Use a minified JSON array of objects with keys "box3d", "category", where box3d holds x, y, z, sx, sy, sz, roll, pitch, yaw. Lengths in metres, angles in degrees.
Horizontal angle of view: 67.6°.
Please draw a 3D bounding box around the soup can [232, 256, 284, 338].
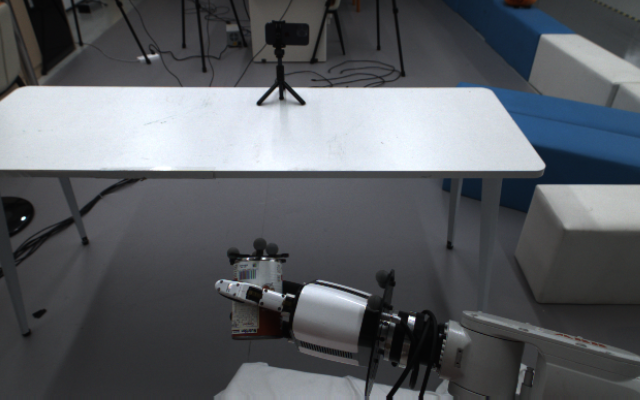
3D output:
[{"box3d":[-0.079,0.132,0.639,0.067,0.067,0.101,-1,71,-5],"category":"soup can"}]
